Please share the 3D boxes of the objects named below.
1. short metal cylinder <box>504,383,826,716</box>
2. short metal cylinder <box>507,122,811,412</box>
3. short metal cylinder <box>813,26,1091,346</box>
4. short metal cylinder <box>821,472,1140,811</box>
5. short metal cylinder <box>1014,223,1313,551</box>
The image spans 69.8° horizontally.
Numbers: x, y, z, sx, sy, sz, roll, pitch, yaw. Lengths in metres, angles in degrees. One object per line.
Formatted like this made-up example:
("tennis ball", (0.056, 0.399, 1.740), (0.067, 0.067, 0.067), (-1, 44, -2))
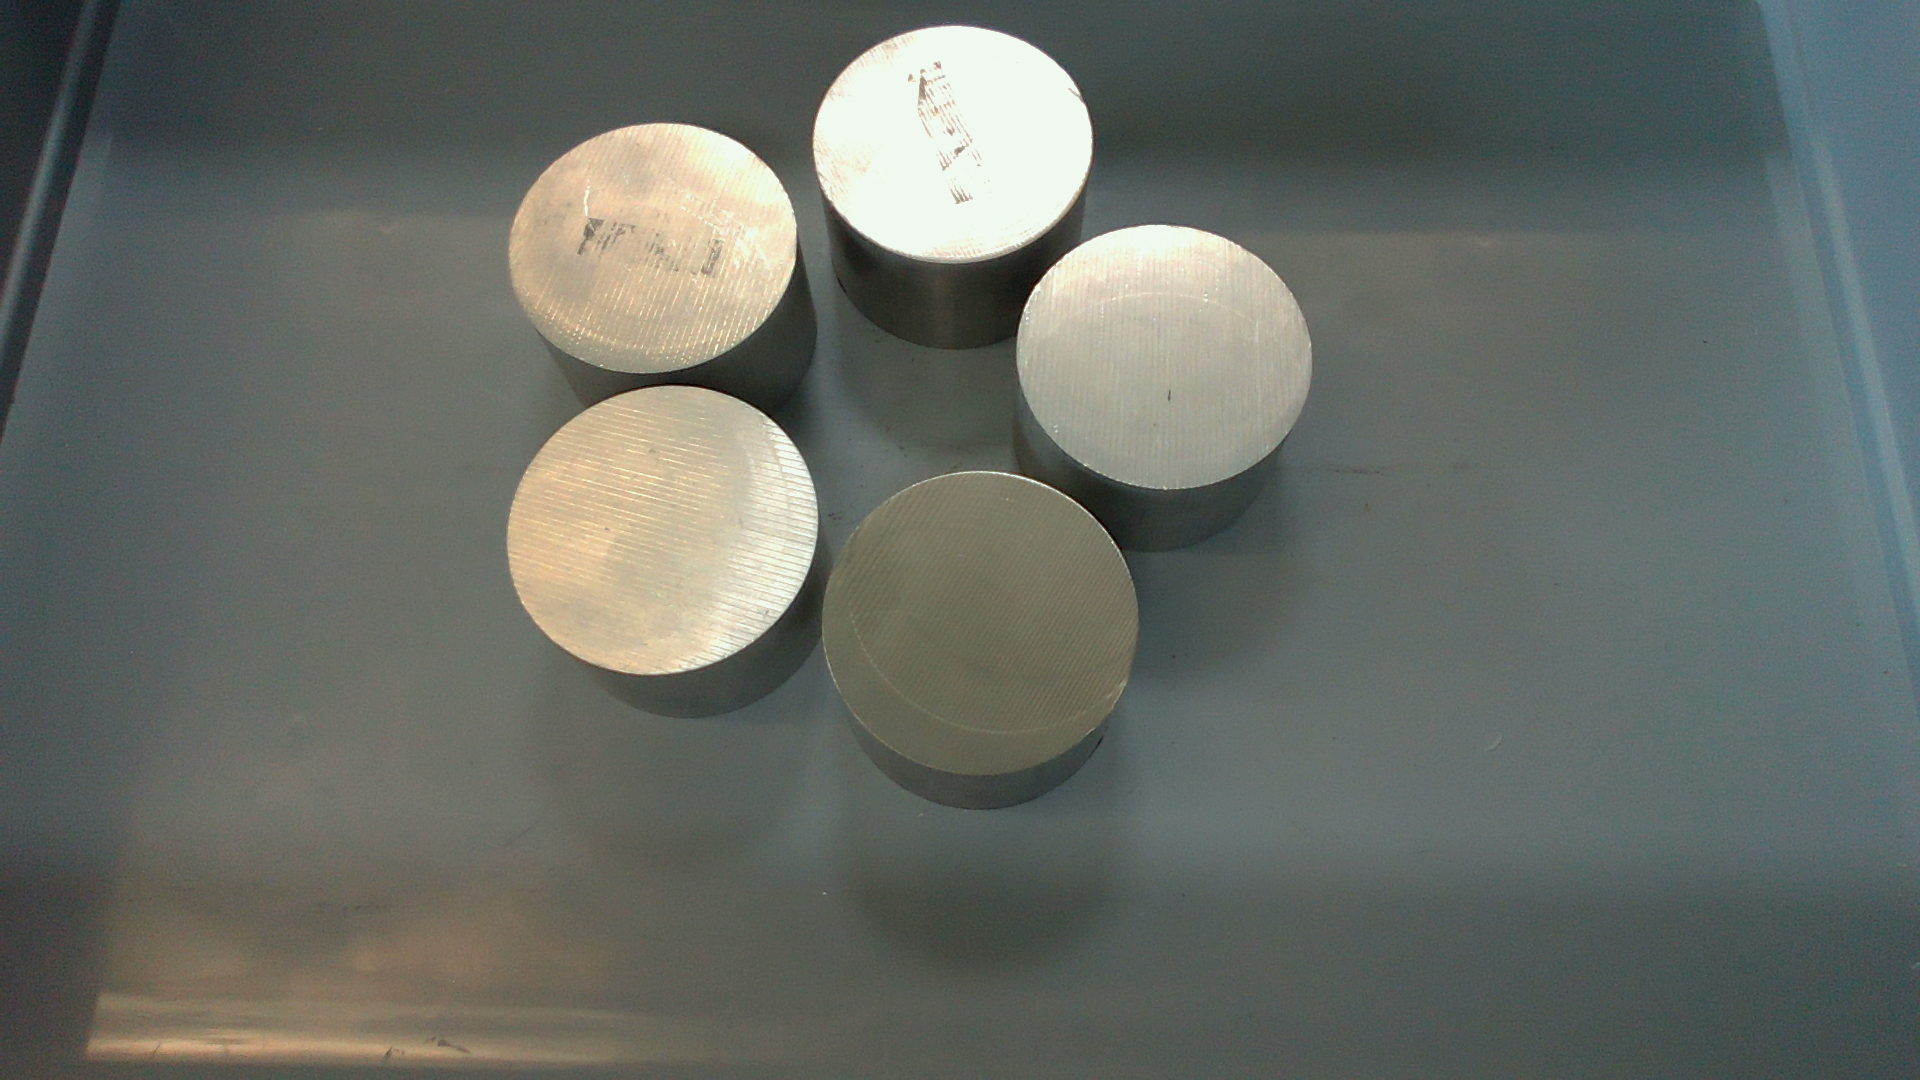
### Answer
("short metal cylinder", (-0.077, 0.004, 0.378), (0.080, 0.050, 0.080), (0, 70, 0))
("short metal cylinder", (-0.086, -0.075, 0.407), (0.080, 0.050, 0.080), (0, 70, 0))
("short metal cylinder", (-0.002, -0.107, 0.419), (0.080, 0.050, 0.080), (0, 70, 0))
("short metal cylinder", (0.005, 0.028, 0.369), (0.080, 0.050, 0.080), (0, 70, 0))
("short metal cylinder", (0.056, -0.043, 0.395), (0.080, 0.050, 0.080), (0, 70, 0))
